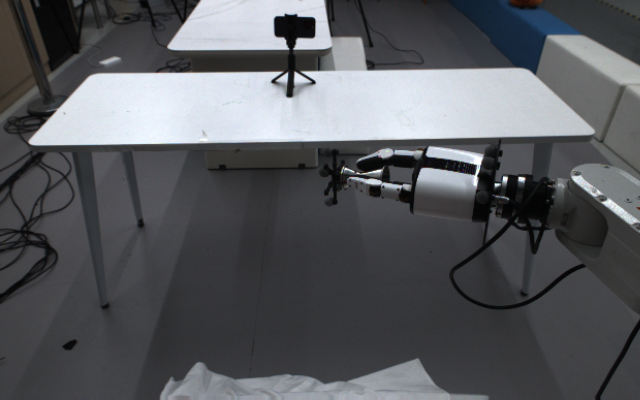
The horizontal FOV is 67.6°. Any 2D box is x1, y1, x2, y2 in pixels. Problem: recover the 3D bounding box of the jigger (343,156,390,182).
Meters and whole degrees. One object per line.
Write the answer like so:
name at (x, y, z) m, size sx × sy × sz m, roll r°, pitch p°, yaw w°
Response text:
jigger at (0.077, -0.037, 0.757) m, size 0.071 × 0.043 × 0.043 m, roll 4°, pitch 33°, yaw 23°
